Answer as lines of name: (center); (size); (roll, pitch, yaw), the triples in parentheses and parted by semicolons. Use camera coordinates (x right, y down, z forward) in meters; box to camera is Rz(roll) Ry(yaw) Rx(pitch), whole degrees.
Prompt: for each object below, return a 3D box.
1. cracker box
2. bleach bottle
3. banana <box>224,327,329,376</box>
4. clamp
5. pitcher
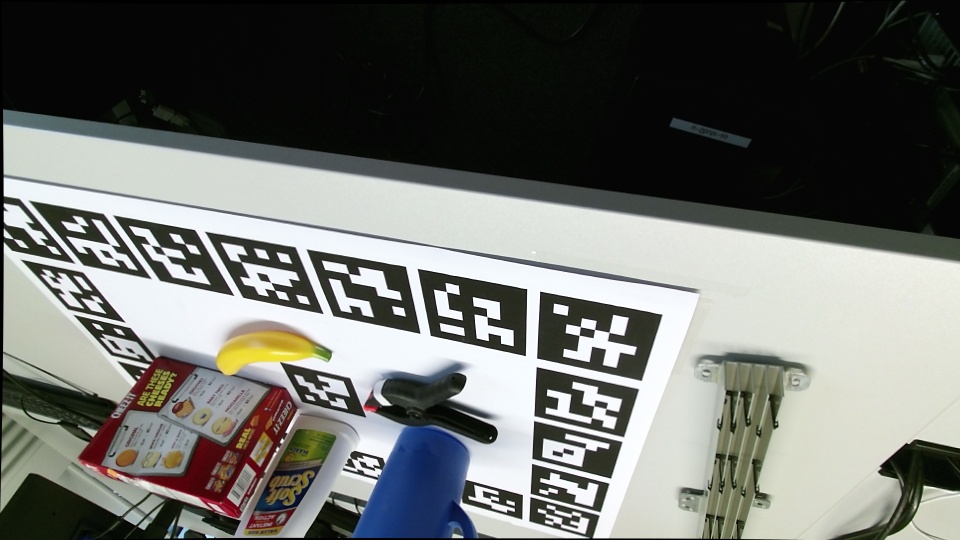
cracker box: (-0.406, 0.230, 0.742); (0.214, 0.163, 0.072); (10, 140, 9)
bleach bottle: (-0.263, 0.328, 0.747); (0.103, 0.250, 0.068); (10, 138, 12)
banana: (-0.280, 0.107, 0.687); (0.198, 0.038, 0.074); (-17, 127, 35)
clamp: (-0.068, 0.168, 0.654); (0.165, 0.036, 0.122); (0, 136, 25)
pitcher: (-0.088, 0.347, 0.667); (0.189, 0.241, 0.133); (-2, 135, 27)
